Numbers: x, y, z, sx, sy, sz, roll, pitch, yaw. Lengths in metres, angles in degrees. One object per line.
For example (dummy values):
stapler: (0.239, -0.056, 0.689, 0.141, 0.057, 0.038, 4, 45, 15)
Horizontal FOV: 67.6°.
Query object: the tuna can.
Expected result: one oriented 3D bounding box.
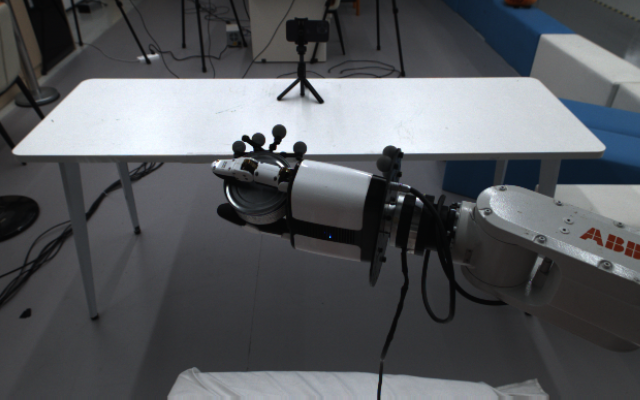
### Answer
tuna can: (-0.070, -0.015, 0.586, 0.085, 0.034, 0.085, -4, 61, 7)
